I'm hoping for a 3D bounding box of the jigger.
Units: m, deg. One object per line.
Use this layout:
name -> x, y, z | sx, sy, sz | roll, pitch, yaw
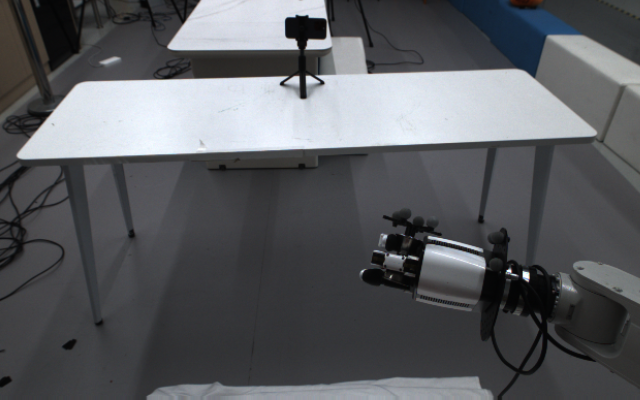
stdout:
jigger -> 0.120, 0.086, 0.702 | 0.043, 0.071, 0.043 | 19, -6, 2
